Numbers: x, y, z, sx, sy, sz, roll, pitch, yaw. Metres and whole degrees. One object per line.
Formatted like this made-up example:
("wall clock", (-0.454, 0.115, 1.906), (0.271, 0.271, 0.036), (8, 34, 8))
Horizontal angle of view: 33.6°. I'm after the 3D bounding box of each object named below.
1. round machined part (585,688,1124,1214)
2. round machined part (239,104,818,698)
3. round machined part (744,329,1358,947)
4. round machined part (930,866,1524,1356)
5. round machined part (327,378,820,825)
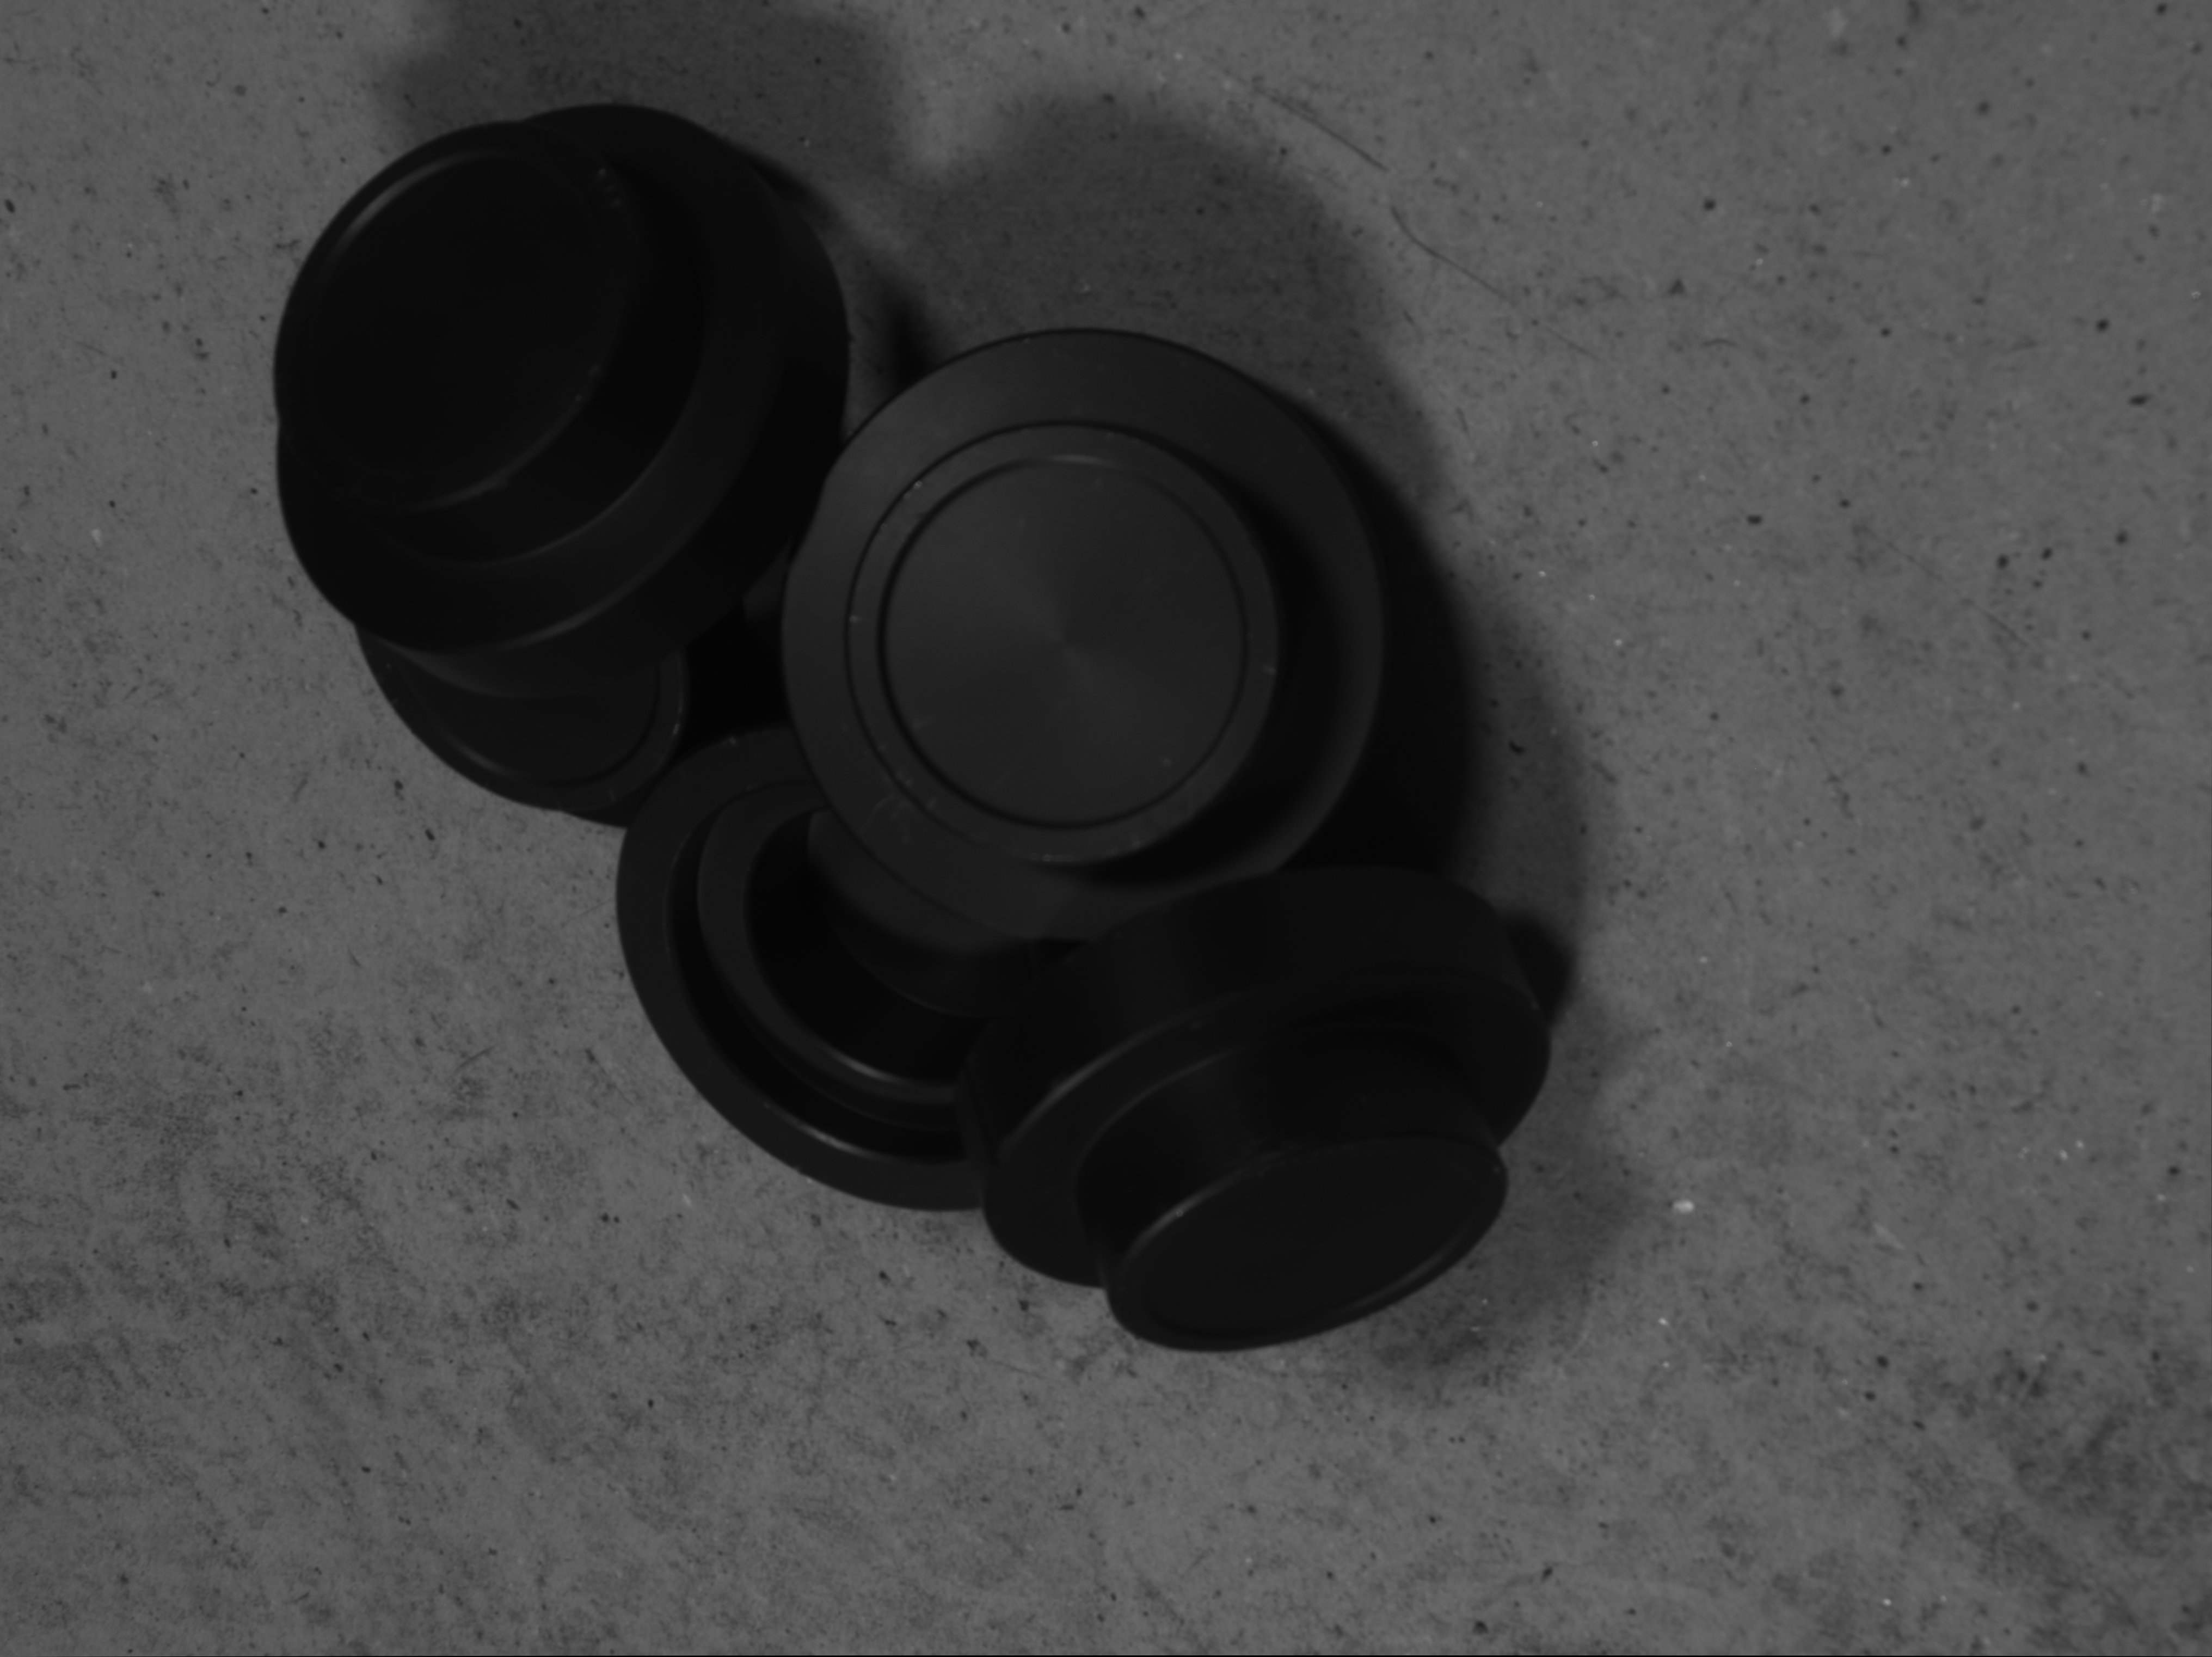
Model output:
("round machined part", (-0.040, 0.016, 0.650), (0.098, 0.042, 0.098), (12, 123, 20))
("round machined part", (-0.099, -0.074, 0.589), (0.098, 0.098, 0.042), (1, 160, 26))
("round machined part", (-0.009, -0.030, 0.579), (0.098, 0.042, 0.098), (0, 94, 6))
("round machined part", (0.024, 0.052, 0.605), (0.098, 0.098, 0.042), (-50, 49, 38))
("round machined part", (-0.099, -0.043, 0.646), (0.098, 0.042, 0.098), (12, 123, 20))
